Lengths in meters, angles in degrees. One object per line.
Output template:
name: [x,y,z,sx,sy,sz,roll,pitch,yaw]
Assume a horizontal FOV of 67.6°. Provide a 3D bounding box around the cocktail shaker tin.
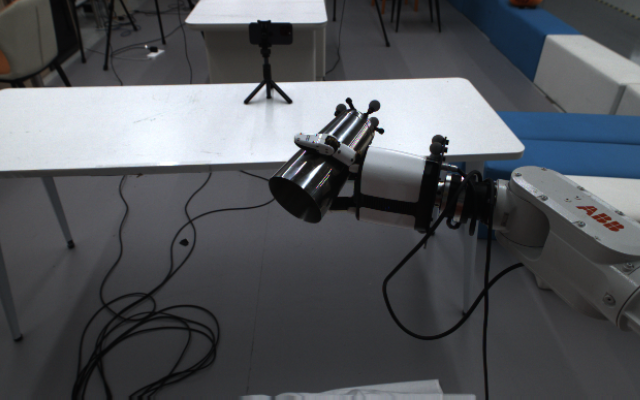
cocktail shaker tin: [0.010,-0.065,0.718,0.093,0.093,0.170,23,57,27]
